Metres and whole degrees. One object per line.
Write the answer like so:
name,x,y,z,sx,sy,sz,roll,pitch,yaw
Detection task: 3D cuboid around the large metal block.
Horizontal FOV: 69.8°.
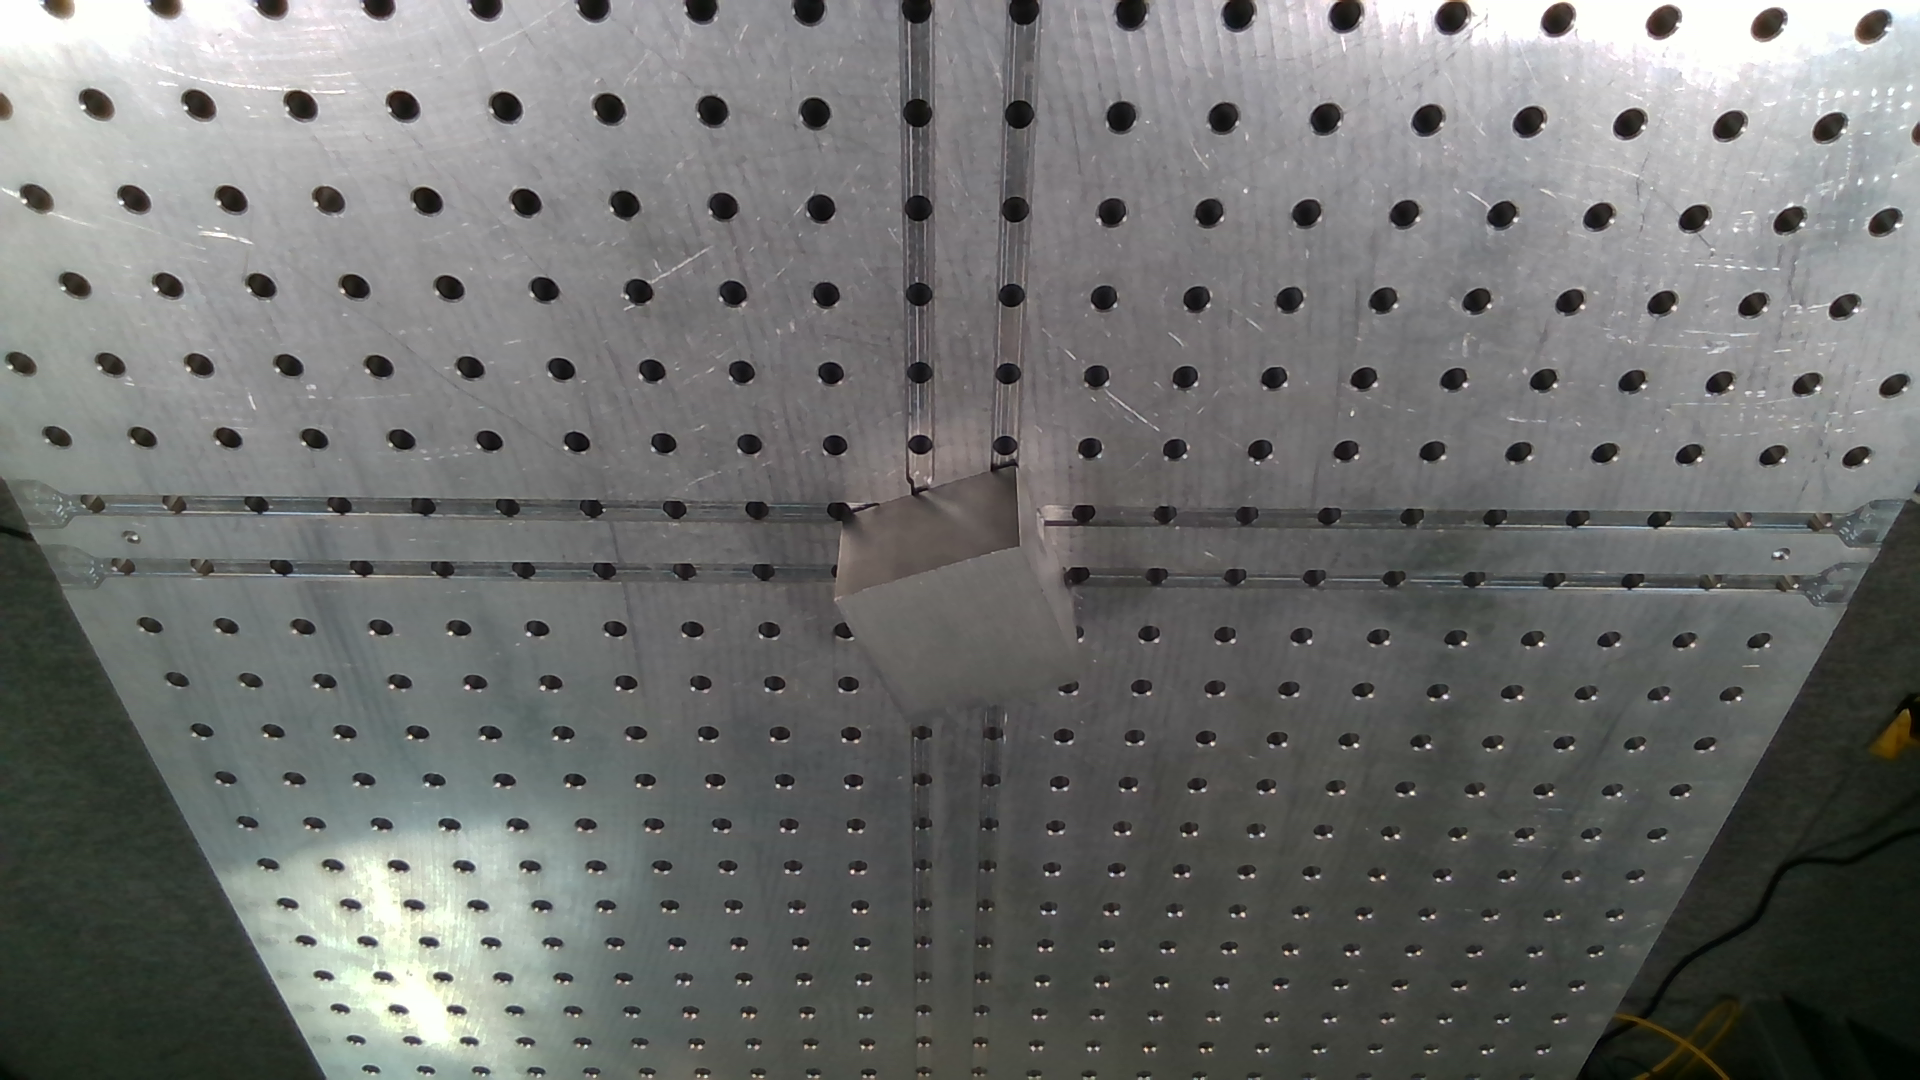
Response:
large metal block,0.000,0.025,0.584,0.080,0.050,0.080,-16,128,13
